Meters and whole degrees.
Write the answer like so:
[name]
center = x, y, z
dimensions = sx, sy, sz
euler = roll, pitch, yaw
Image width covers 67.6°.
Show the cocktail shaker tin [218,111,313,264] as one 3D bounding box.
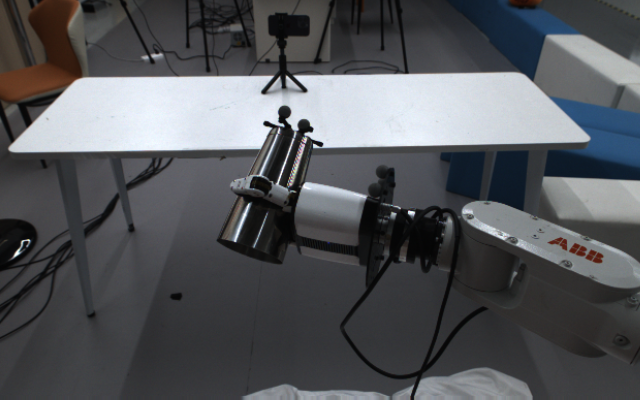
[cocktail shaker tin]
center = -0.067, -0.009, 0.654
dimensions = 0.093, 0.093, 0.170
euler = 14, 73, 17
